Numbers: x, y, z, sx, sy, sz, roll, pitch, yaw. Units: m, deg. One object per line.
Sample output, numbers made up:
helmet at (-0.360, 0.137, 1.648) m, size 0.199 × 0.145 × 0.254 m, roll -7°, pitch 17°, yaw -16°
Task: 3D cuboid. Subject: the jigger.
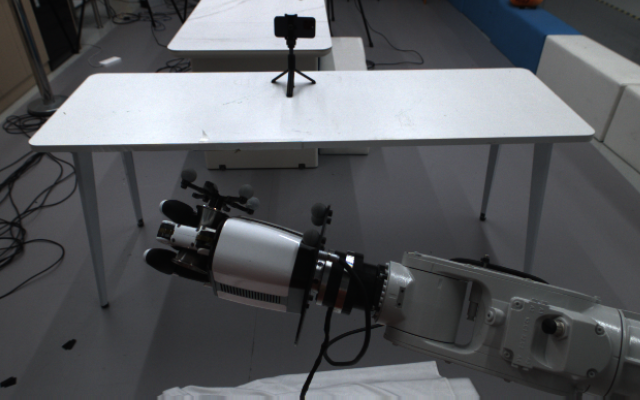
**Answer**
jigger at (-0.128, 0.044, 0.542) m, size 0.043 × 0.043 × 0.071 m, roll 12°, pitch 71°, yaw 14°
